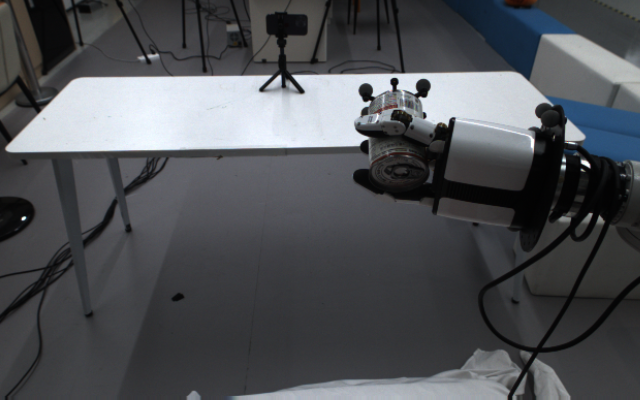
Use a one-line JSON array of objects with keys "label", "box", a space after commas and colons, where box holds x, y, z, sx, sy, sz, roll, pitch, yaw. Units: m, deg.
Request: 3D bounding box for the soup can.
[{"label": "soup can", "box": [0.091, -0.069, 0.564, 0.067, 0.067, 0.101, 3, 57, 1]}]
